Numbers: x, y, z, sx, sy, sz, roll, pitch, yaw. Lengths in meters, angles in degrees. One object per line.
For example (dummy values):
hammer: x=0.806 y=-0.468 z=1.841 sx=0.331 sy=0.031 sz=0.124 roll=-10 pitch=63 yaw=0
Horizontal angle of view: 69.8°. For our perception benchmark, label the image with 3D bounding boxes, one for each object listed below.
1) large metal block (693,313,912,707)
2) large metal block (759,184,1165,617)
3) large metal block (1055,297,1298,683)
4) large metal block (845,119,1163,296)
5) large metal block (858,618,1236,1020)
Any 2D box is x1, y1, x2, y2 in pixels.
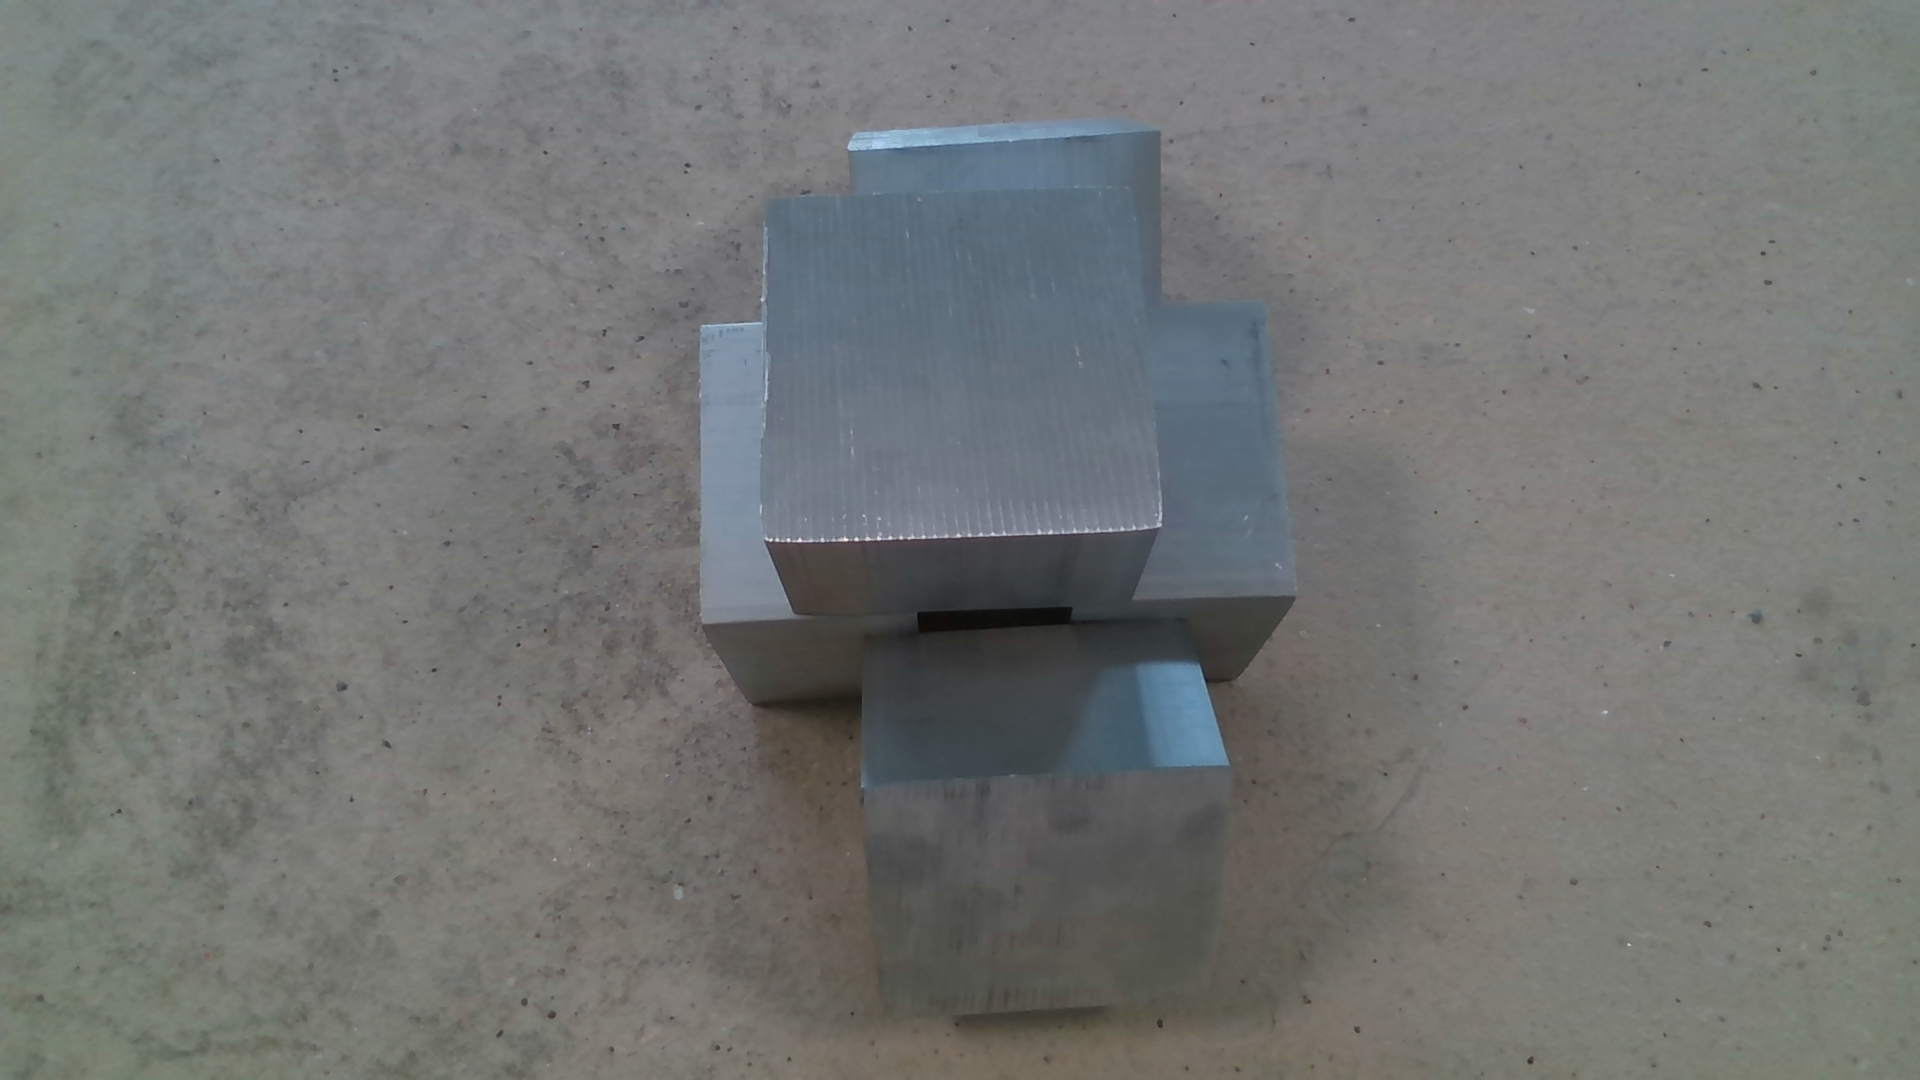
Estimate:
large metal block: x=-0.039 y=-0.005 z=0.370 sx=0.050 sy=0.080 sz=0.080 roll=-4 pitch=70 yaw=-1
large metal block: x=-0.001 y=-0.030 z=0.308 sx=0.080 sy=0.050 sz=0.080 roll=-2 pitch=70 yaw=-1
large metal block: x=0.052 y=-0.009 z=0.370 sx=0.050 sy=0.080 sz=0.080 roll=-2 pitch=71 yaw=-1
large metal block: x=0.010 y=-0.090 z=0.391 sx=0.080 sy=0.080 sz=0.050 roll=-3 pitch=110 yaw=-2
large metal block: x=0.019 y=0.068 z=0.334 sx=0.080 sy=0.080 sz=0.050 roll=-3 pitch=36 yaw=-1
